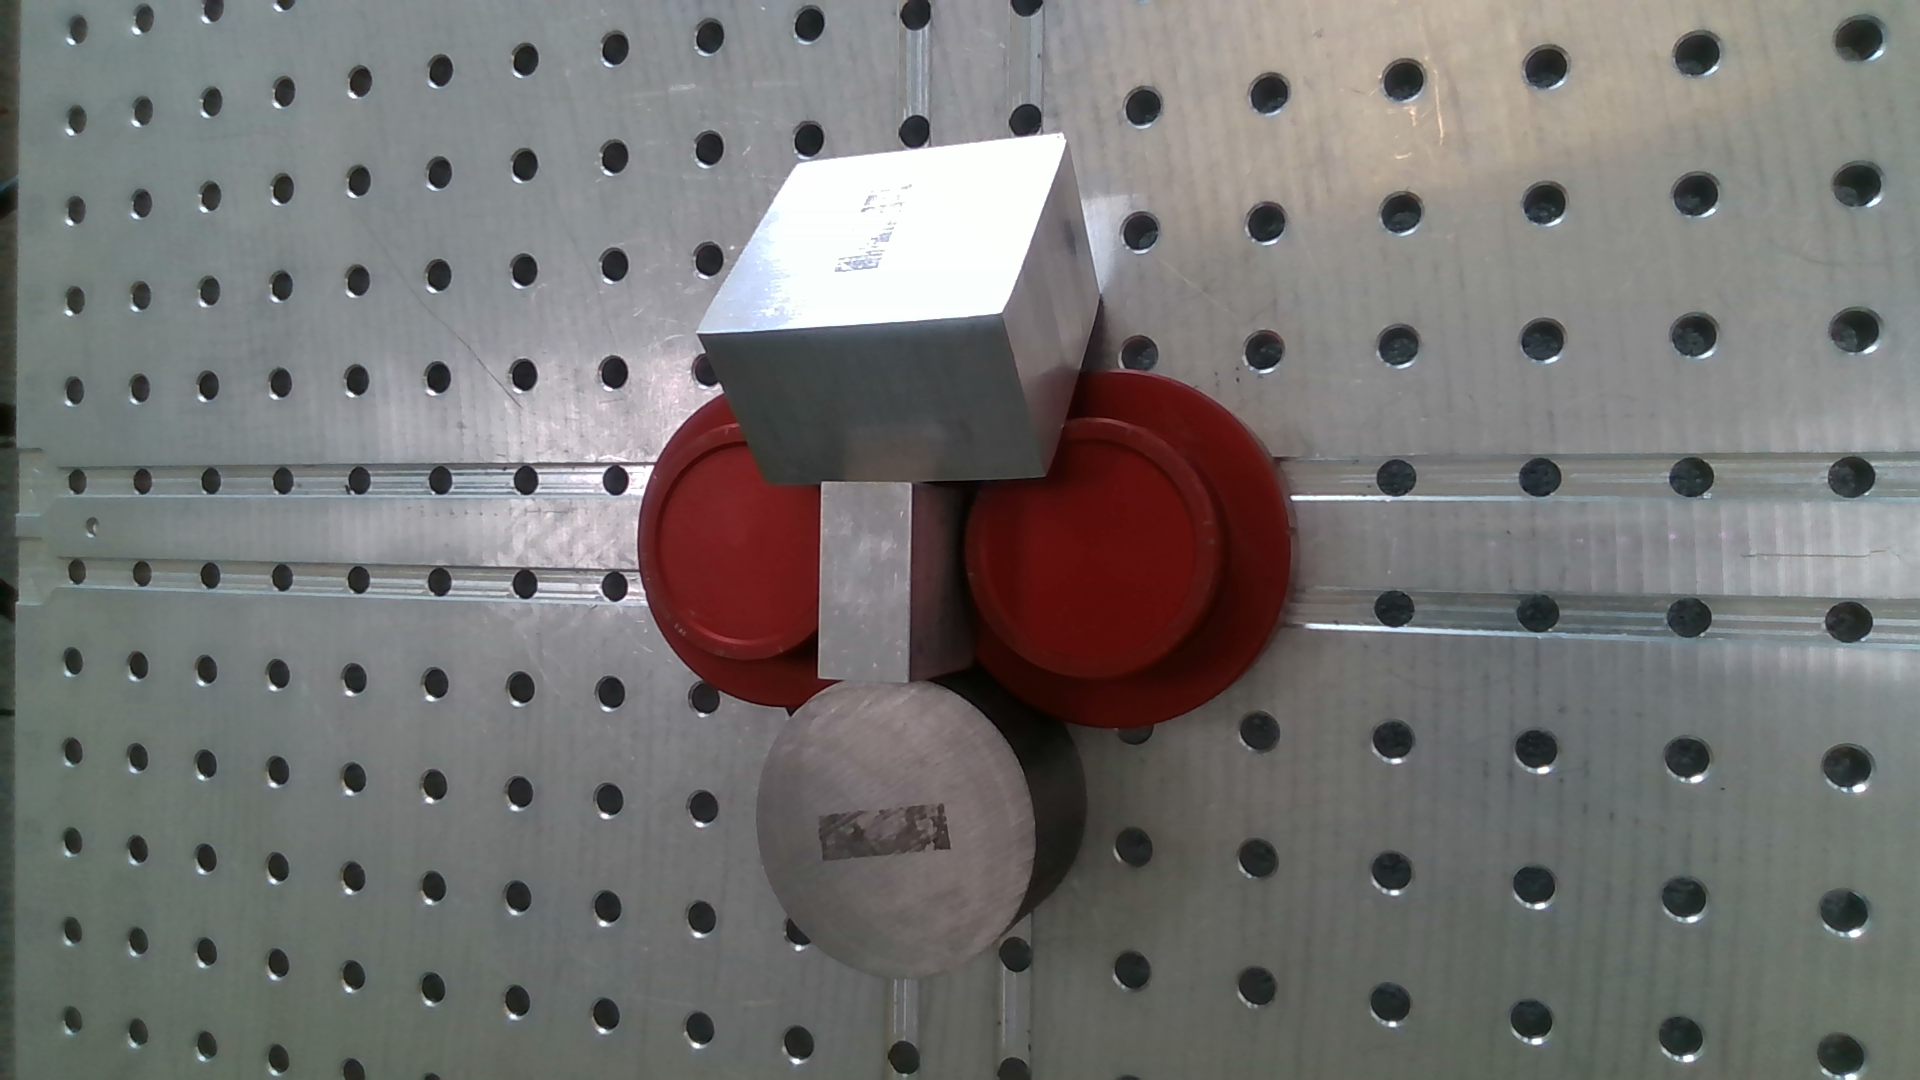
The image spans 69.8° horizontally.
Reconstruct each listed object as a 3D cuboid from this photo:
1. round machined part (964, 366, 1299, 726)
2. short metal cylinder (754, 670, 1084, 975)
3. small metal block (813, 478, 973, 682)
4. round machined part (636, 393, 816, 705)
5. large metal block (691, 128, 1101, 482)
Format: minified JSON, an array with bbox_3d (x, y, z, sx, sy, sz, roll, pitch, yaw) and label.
[{"bbox_3d":[0.040,0.002,0.373,0.098,0.042,0.098,0,90,20],"label":"round machined part"},{"bbox_3d":[-0.010,0.075,0.386,0.080,0.050,0.080,0,90,20],"label":"short metal cylinder"},{"bbox_3d":[-0.016,0.010,0.366,0.025,0.050,0.050,1,91,20],"label":"small metal block"},{"bbox_3d":[-0.055,0.000,0.408,0.098,0.042,0.098,0,90,20],"label":"round machined part"},{"bbox_3d":[-0.012,-0.062,0.365,0.080,0.080,0.050,-1,134,20],"label":"large metal block"}]
